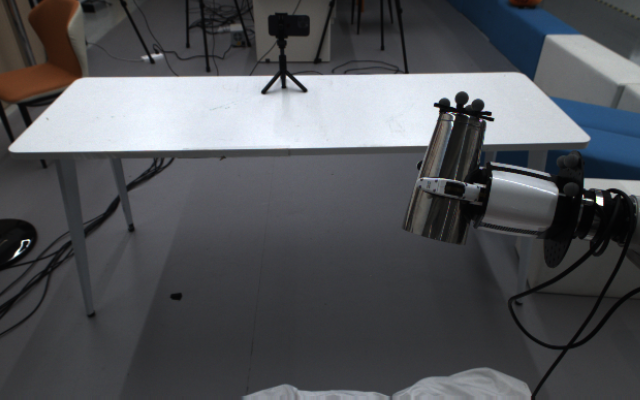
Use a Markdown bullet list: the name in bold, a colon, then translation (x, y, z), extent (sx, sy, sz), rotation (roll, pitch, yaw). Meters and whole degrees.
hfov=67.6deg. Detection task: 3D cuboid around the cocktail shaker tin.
- **cocktail shaker tin**: translation (0.180, -0.033, 0.681), extent (0.093, 0.170, 0.093), rotation (13, 4, -1)
